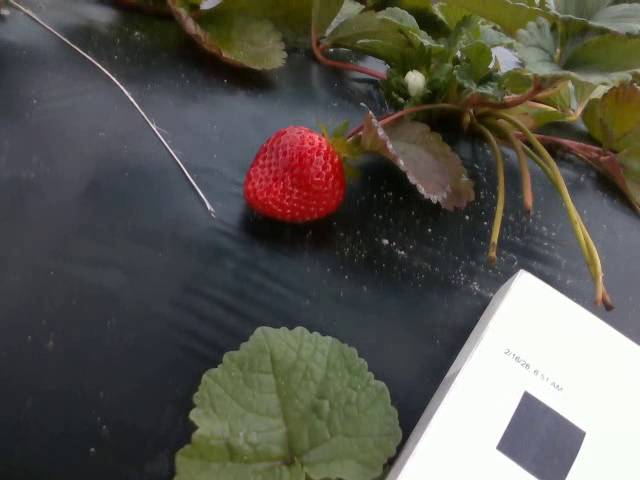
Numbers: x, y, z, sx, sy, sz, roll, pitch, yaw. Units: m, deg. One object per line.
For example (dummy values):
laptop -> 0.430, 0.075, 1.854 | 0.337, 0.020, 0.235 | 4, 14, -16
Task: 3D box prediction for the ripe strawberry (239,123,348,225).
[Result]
ripe strawberry -> -0.008, -0.018, 0.154 | 0.032, 0.029, 0.023 | -33, -23, -26
